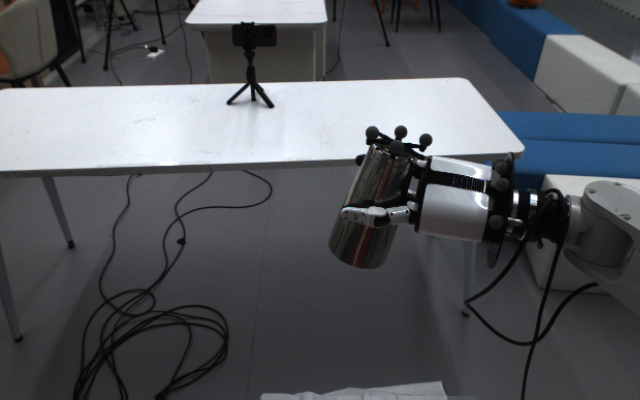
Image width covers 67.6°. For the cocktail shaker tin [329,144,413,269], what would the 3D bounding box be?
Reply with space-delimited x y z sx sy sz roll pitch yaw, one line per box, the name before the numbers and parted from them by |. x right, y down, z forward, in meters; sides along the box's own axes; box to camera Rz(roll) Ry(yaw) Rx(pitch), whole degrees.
cocktail shaker tin | 0.080 0.001 0.687 0.093 0.170 0.093 12 29 -7
